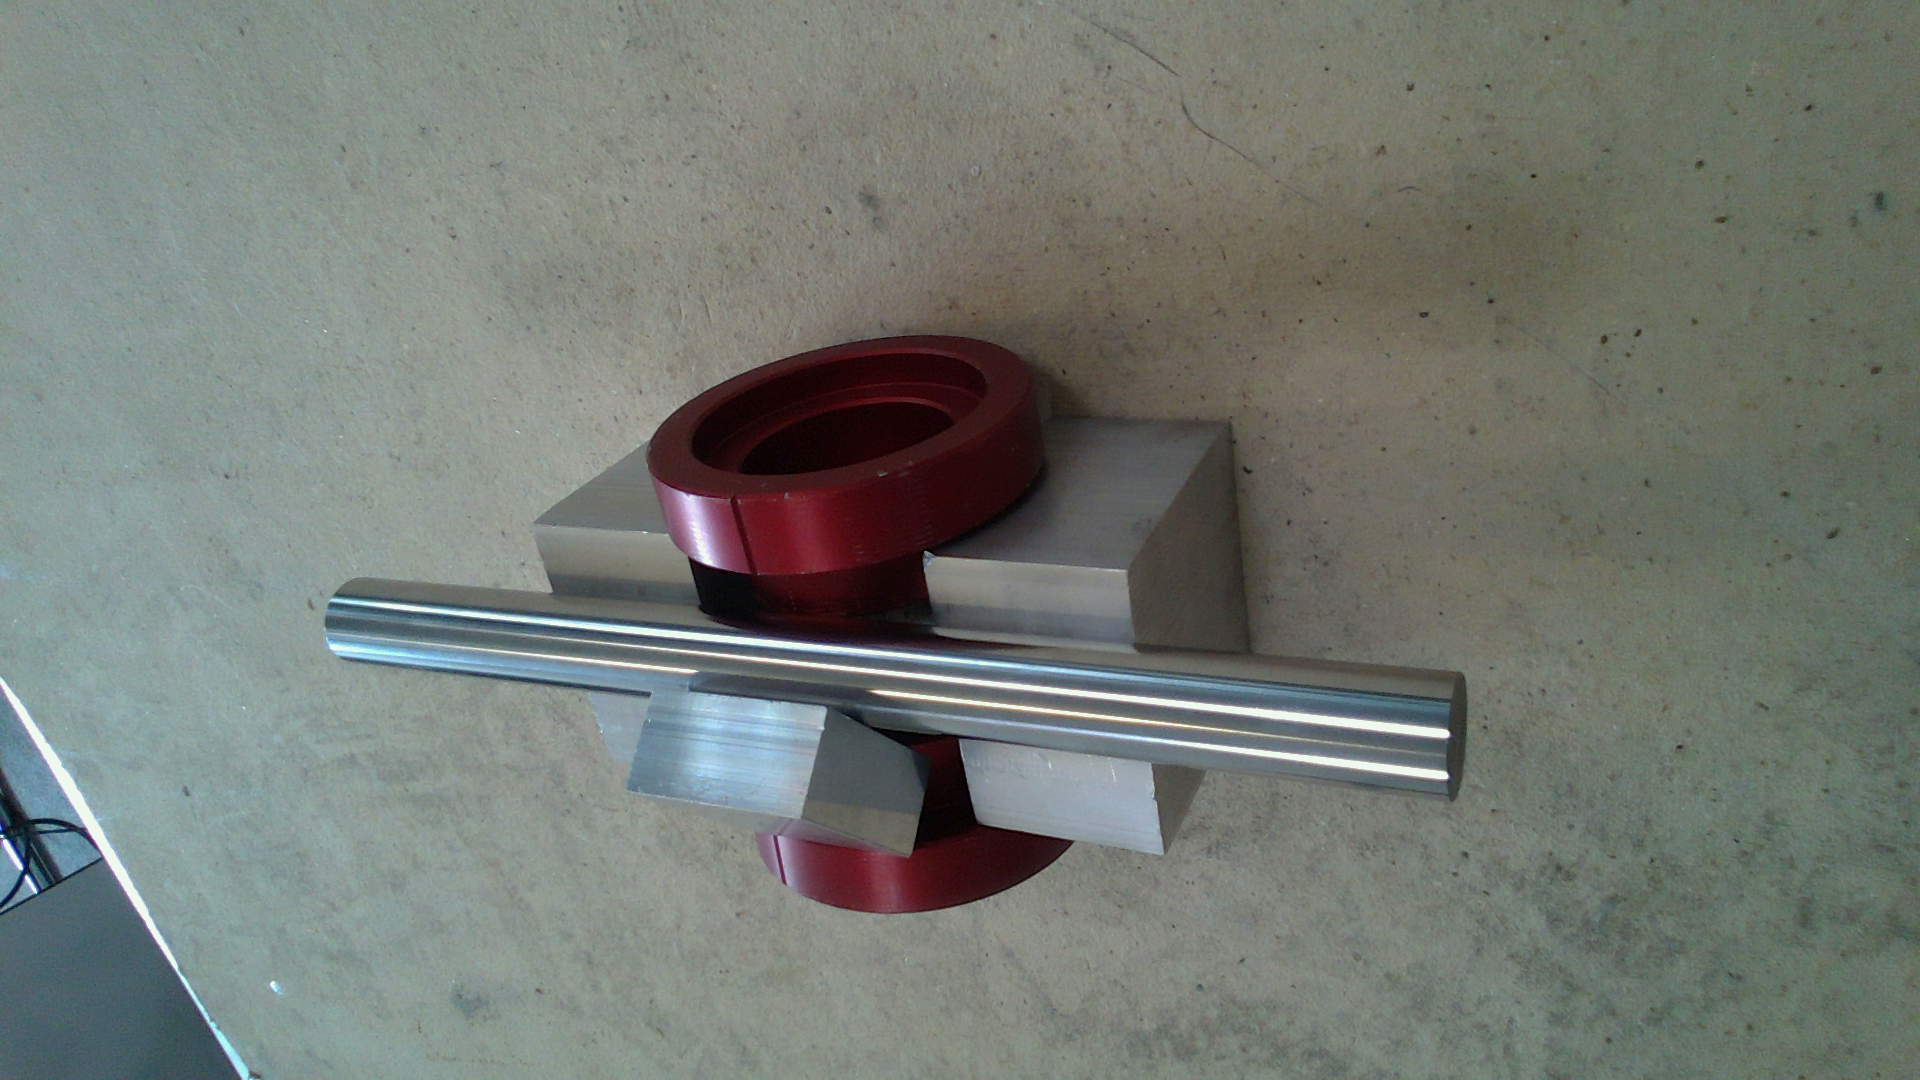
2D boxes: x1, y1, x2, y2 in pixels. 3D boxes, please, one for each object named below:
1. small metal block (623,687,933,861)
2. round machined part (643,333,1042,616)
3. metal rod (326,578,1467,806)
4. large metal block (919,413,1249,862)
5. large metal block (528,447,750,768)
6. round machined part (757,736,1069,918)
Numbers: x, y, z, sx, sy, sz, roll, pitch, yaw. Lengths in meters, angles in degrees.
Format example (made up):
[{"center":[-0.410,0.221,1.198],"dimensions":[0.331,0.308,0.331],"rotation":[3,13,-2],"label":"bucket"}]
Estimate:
[{"center":[-0.042,0.056,0.329],"dimensions":[0.050,0.025,0.050],"rotation":[3,160,29],"label":"small metal block"},{"center":[-0.027,-0.015,0.351],"dimensions":[0.098,0.098,0.042],"rotation":[4,121,26],"label":"round machined part"},{"center":[-0.038,0.031,0.329],"dimensions":[0.299,0.025,0.025],"rotation":[3,120,27],"label":"metal rod"},{"center":[0.037,0.021,0.351],"dimensions":[0.050,0.080,0.080],"rotation":[4,120,27],"label":"large metal block"},{"center":[-0.069,0.013,0.403],"dimensions":[0.050,0.080,0.080],"rotation":[4,120,26],"label":"large metal block"},{"center":[-0.013,0.059,0.389],"dimensions":[0.098,0.098,0.042],"rotation":[5,115,26],"label":"round machined part"}]
